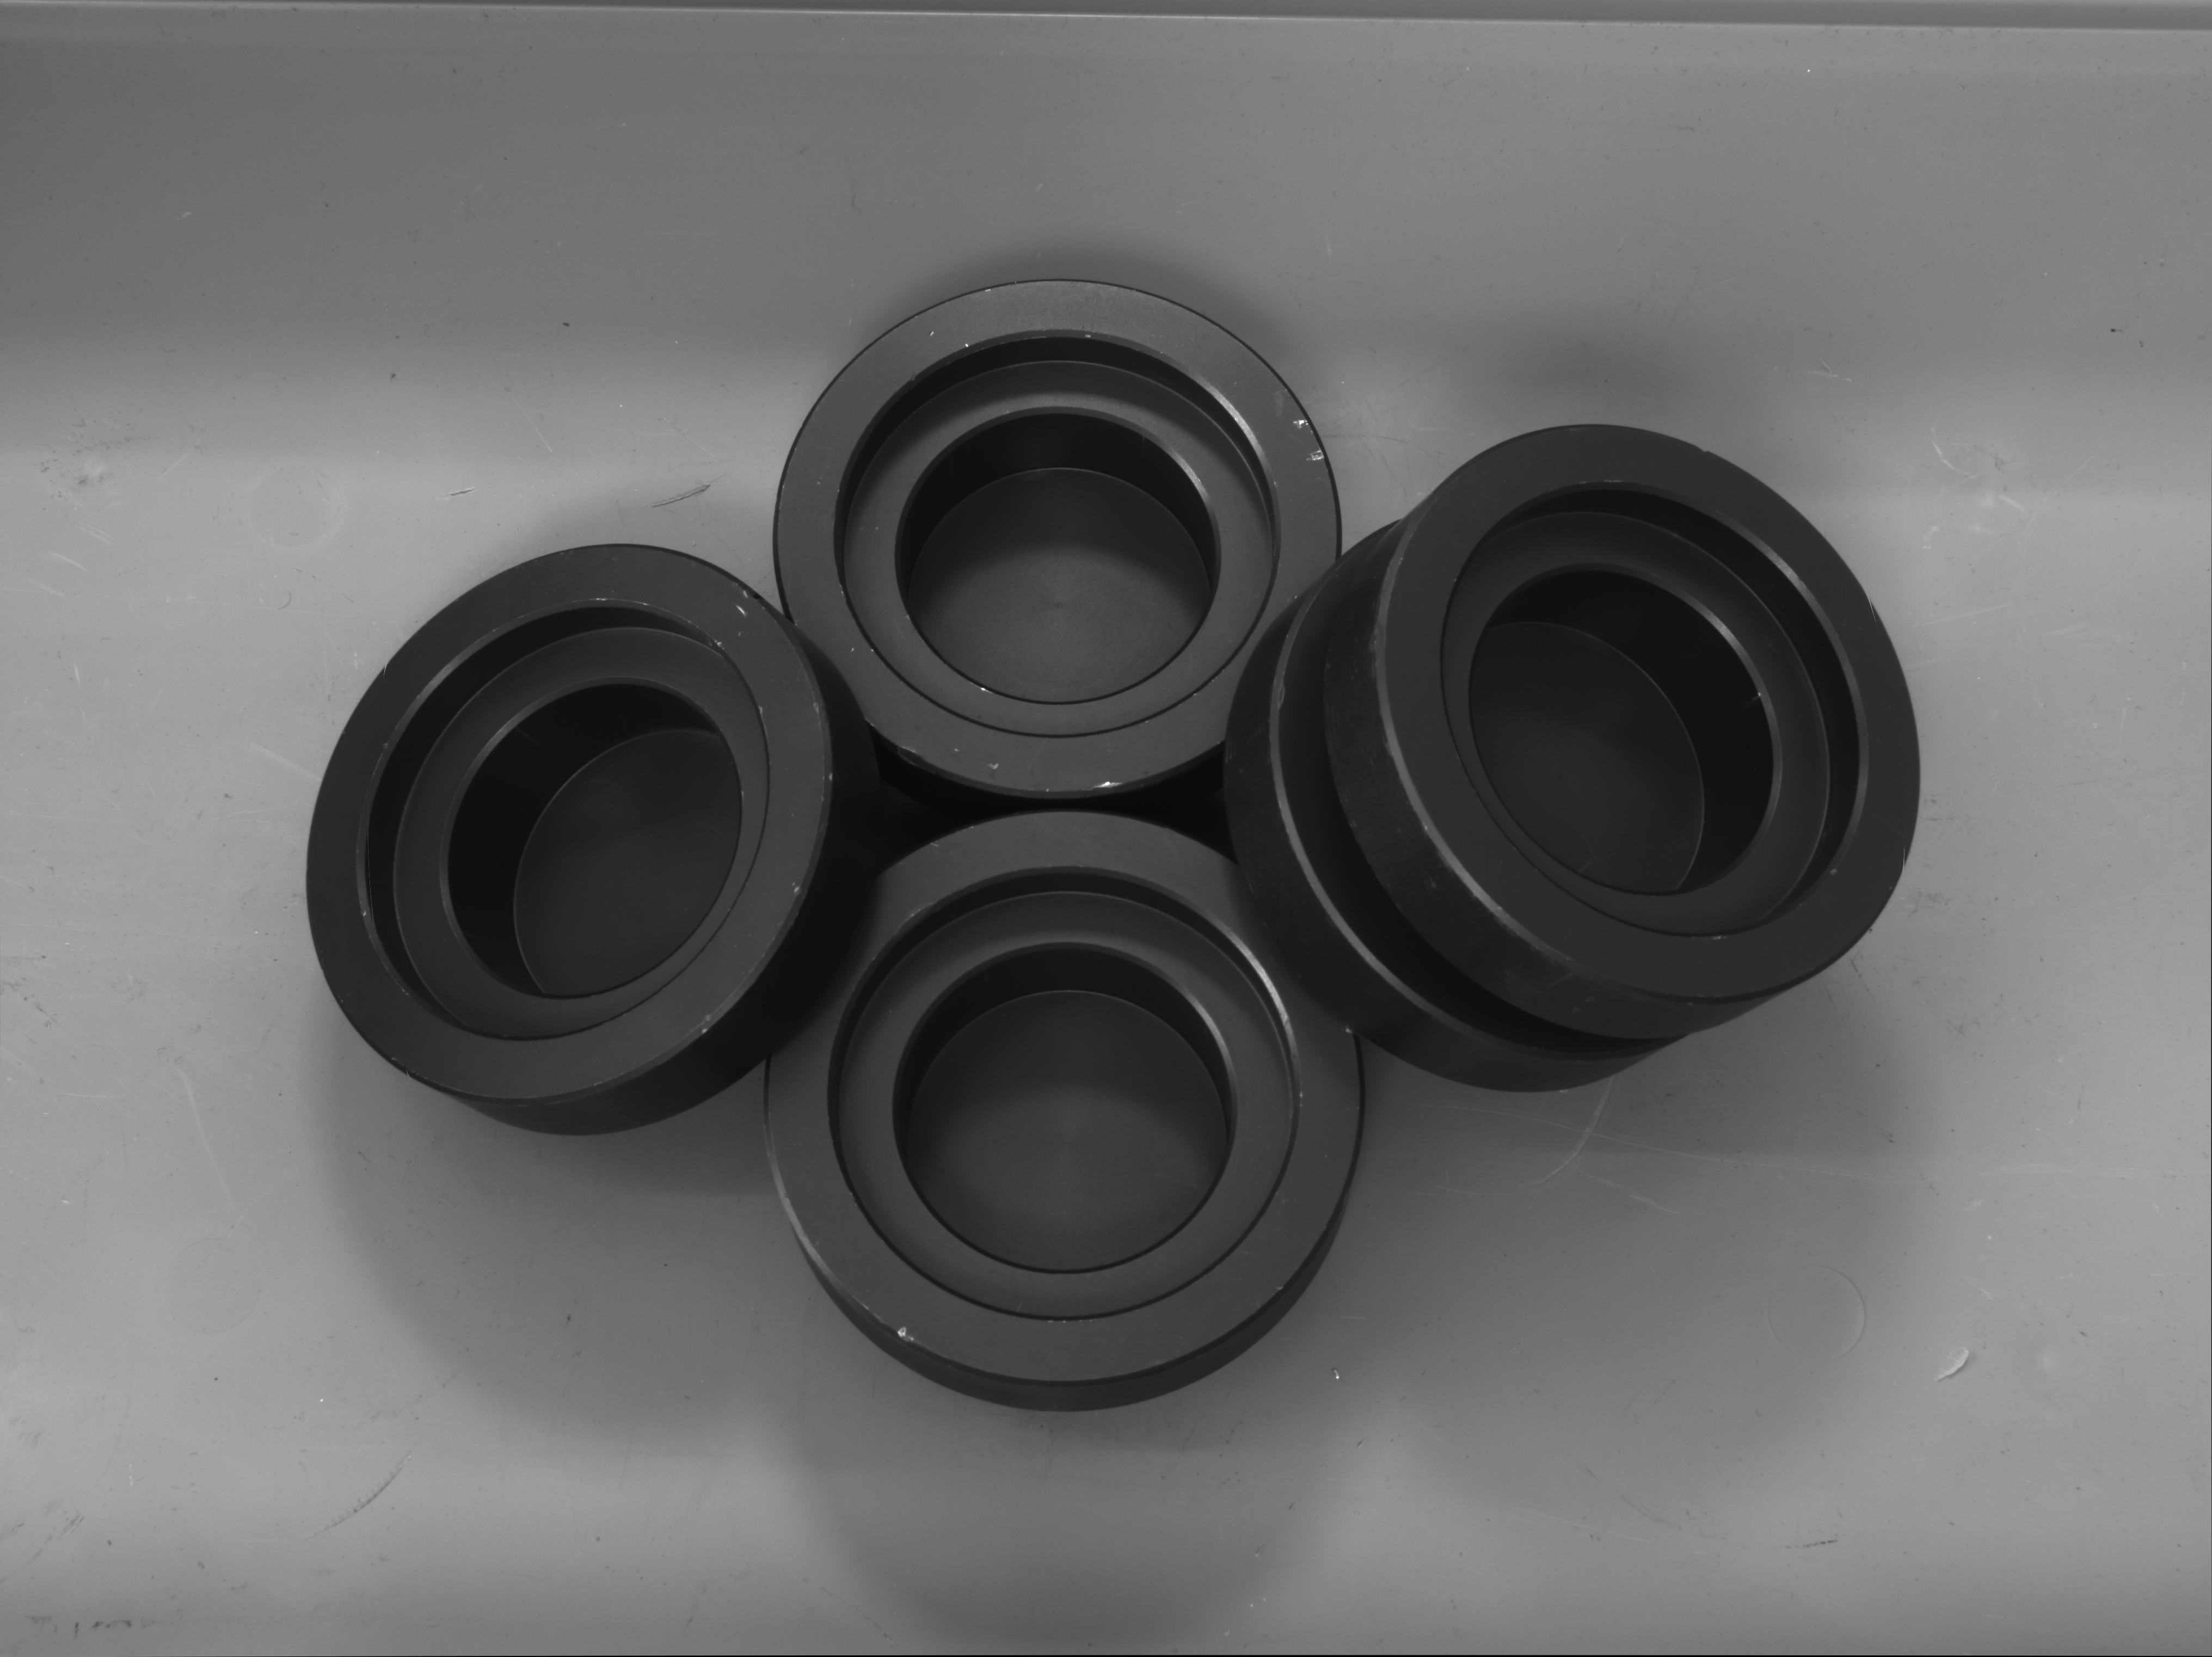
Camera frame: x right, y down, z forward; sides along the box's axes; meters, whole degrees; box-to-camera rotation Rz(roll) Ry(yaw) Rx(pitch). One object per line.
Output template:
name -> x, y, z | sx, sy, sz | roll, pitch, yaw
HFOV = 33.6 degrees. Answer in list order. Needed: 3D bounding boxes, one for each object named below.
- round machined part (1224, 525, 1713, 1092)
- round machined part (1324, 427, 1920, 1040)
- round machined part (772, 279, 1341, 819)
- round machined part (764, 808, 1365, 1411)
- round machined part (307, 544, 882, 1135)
round machined part -> 0.065, -0.002, 0.624 | 0.098, 0.042, 0.098 | 8, 68, -21
round machined part -> 0.080, -0.012, 0.598 | 0.098, 0.042, 0.098 | 8, 68, -20
round machined part -> -0.008, -0.044, 0.650 | 0.098, 0.042, 0.098 | 0, 70, 0
round machined part -> -0.007, 0.049, 0.616 | 0.098, 0.042, 0.098 | 0, 70, 0
round machined part -> -0.082, 0.005, 0.622 | 0.098, 0.042, 0.098 | -8, 68, 20
